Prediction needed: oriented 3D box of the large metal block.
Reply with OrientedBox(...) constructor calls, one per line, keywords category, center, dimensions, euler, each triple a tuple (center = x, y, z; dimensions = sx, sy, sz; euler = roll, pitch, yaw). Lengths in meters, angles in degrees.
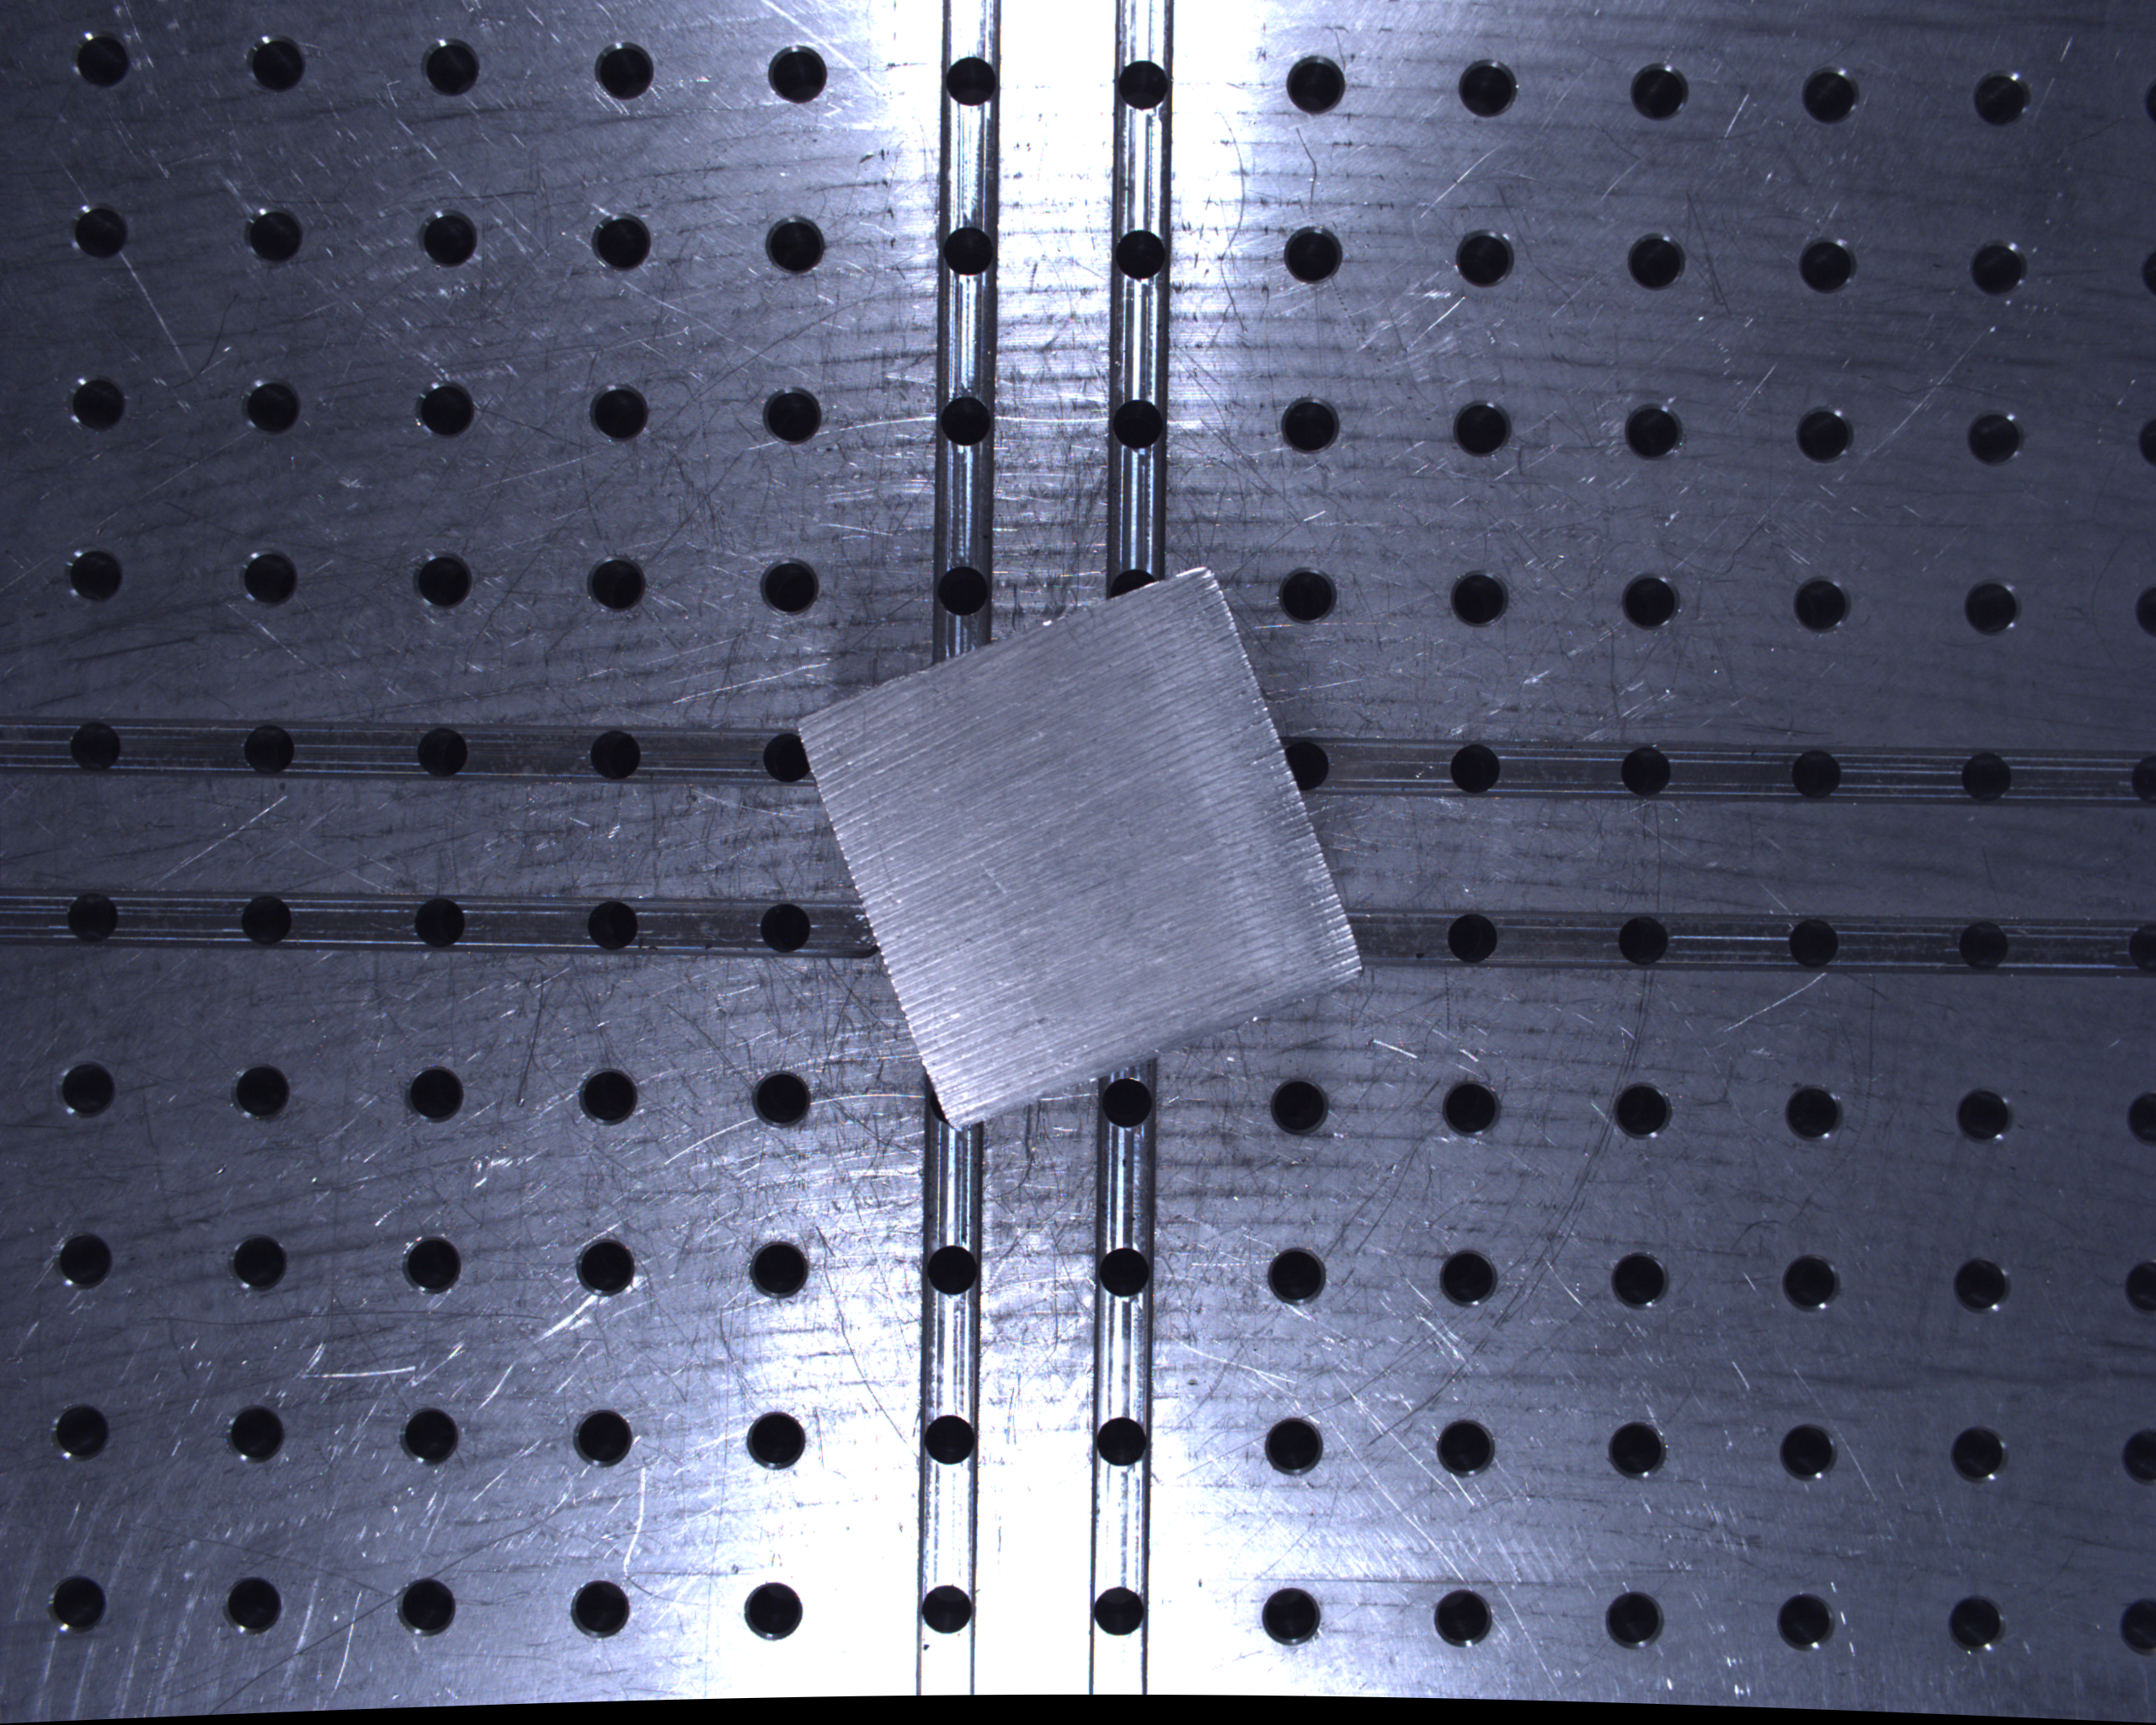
OrientedBox(category="large metal block", center=(0.001, -0.002, 0.398), dimensions=(0.080, 0.050, 0.080), euler=(-21, 90, -1))
